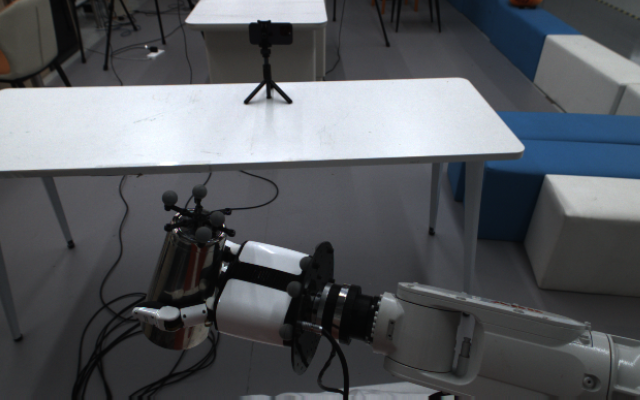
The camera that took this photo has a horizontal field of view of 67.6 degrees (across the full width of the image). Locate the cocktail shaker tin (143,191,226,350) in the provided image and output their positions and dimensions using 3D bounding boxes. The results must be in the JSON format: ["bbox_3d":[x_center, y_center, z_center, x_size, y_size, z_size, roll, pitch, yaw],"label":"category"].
[{"bbox_3d":[-0.166,0.094,0.602,0.093,0.170,0.093,16,31,-10],"label":"cocktail shaker tin"}]
